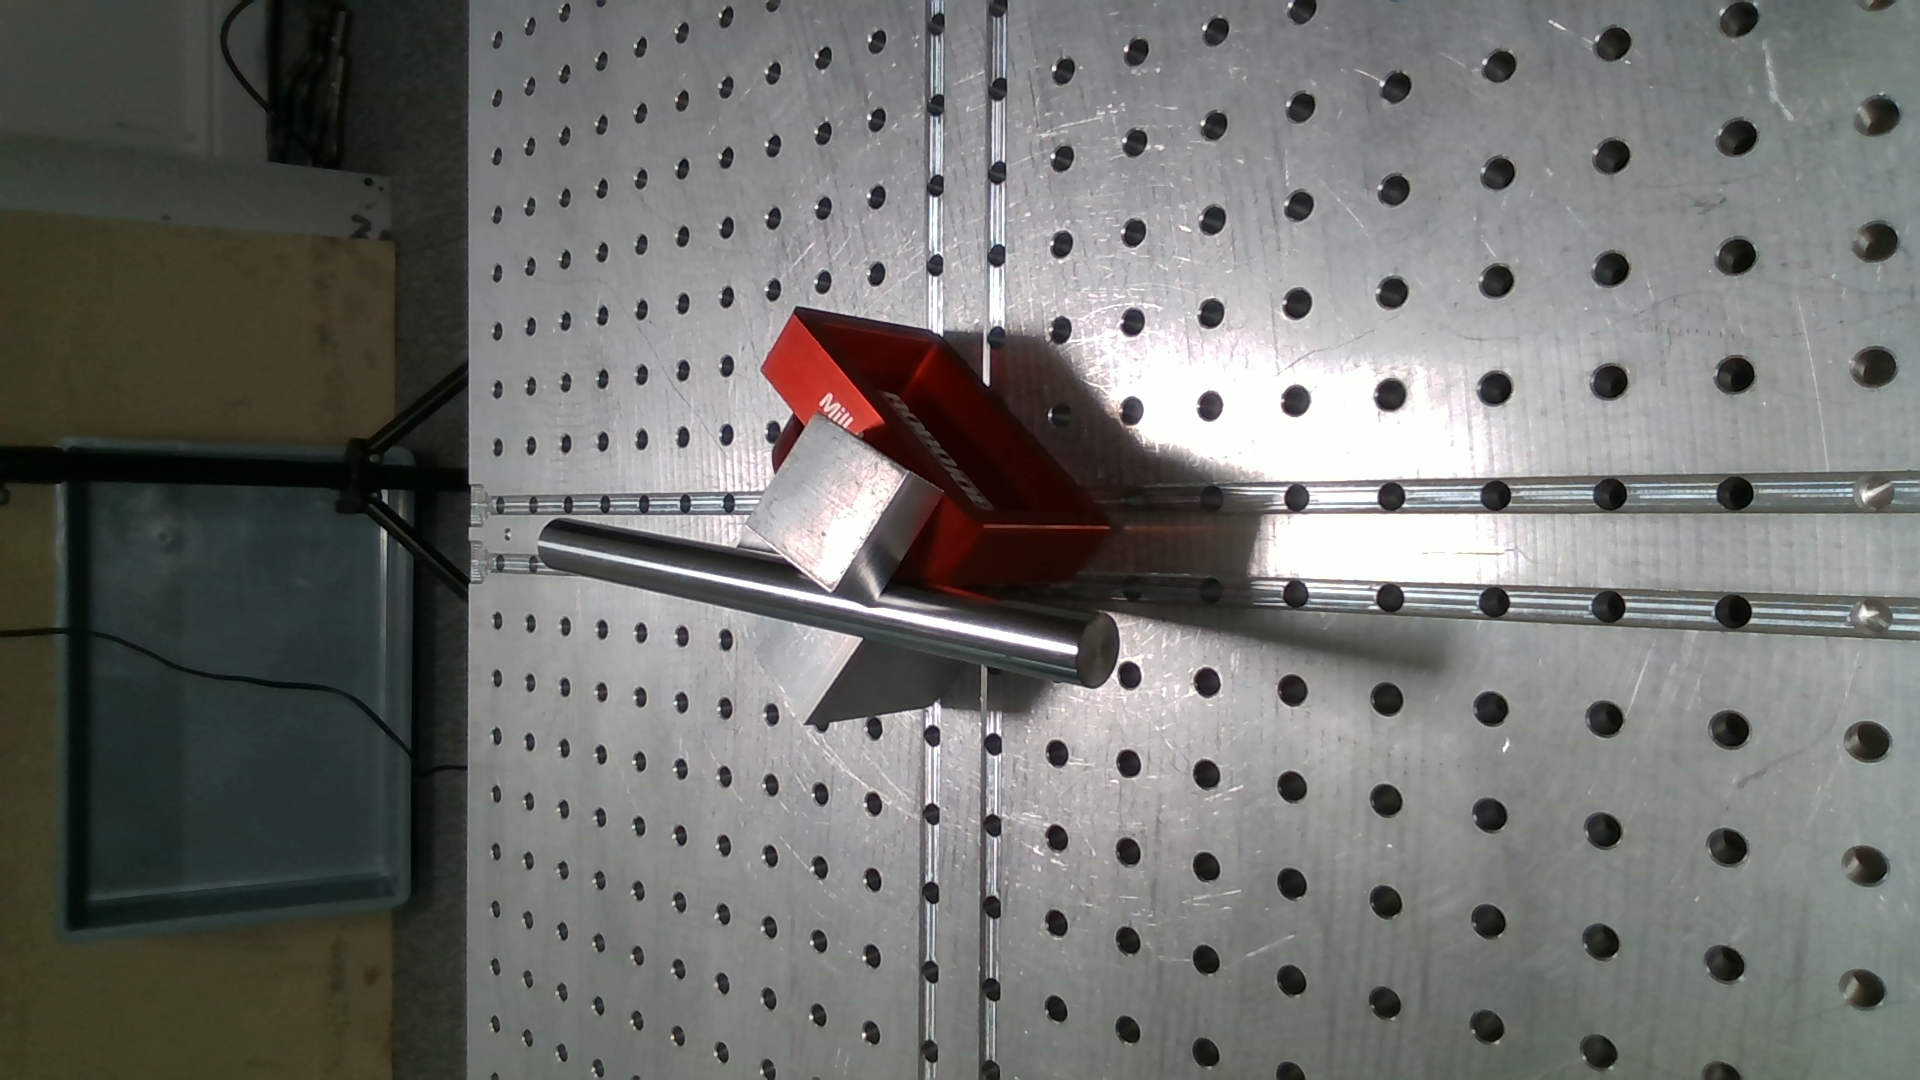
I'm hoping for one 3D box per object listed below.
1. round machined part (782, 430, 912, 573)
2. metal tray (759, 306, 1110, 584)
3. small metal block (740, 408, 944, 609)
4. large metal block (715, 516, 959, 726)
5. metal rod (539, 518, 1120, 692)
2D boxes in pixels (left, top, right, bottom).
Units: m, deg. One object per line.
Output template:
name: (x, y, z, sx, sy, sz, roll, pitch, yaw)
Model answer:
round machined part: (-0.030, -0.016, 0.568, 0.098, 0.098, 0.042, 50, 120, 28)
metal tray: (-0.010, -0.038, 0.551, 0.130, 0.090, 0.030, 50, 120, 28)
small metal block: (-0.042, -0.011, 0.493, 0.050, 0.025, 0.050, 34, 93, 33)
large metal block: (-0.050, 0.029, 0.587, 0.080, 0.080, 0.050, 50, 120, 28)
metal rod: (-0.069, 0.019, 0.539, 0.300, 0.025, 0.025, 9, 96, 40)
